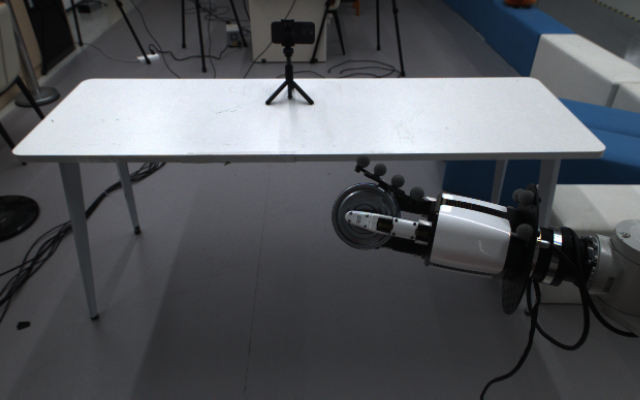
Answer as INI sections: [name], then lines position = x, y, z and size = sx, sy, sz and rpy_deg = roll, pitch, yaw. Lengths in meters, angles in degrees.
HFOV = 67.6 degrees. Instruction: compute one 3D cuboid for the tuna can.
[tuna can]
position = 0.063, 0.026, 0.618
size = 0.085, 0.085, 0.034
rpy_deg = 13, 4, 15
